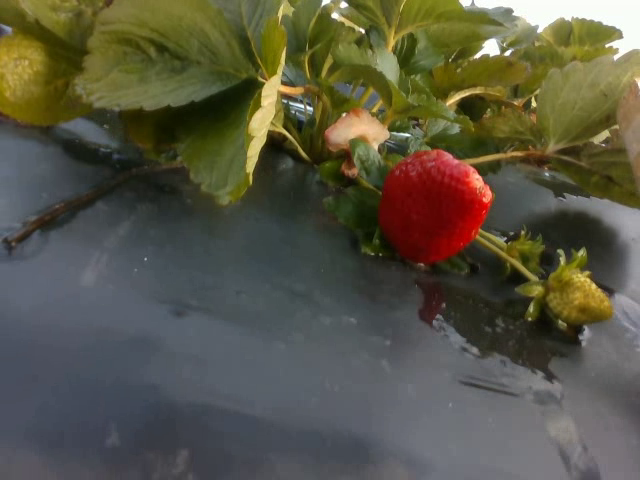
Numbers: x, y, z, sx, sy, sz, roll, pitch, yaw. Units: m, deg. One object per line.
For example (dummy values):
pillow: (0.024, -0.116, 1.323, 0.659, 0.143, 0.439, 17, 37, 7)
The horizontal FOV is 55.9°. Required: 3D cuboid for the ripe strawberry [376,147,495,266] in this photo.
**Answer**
ripe strawberry: (0.050, -0.016, 0.232, 0.043, 0.052, 0.057, -13, -8, -14)
